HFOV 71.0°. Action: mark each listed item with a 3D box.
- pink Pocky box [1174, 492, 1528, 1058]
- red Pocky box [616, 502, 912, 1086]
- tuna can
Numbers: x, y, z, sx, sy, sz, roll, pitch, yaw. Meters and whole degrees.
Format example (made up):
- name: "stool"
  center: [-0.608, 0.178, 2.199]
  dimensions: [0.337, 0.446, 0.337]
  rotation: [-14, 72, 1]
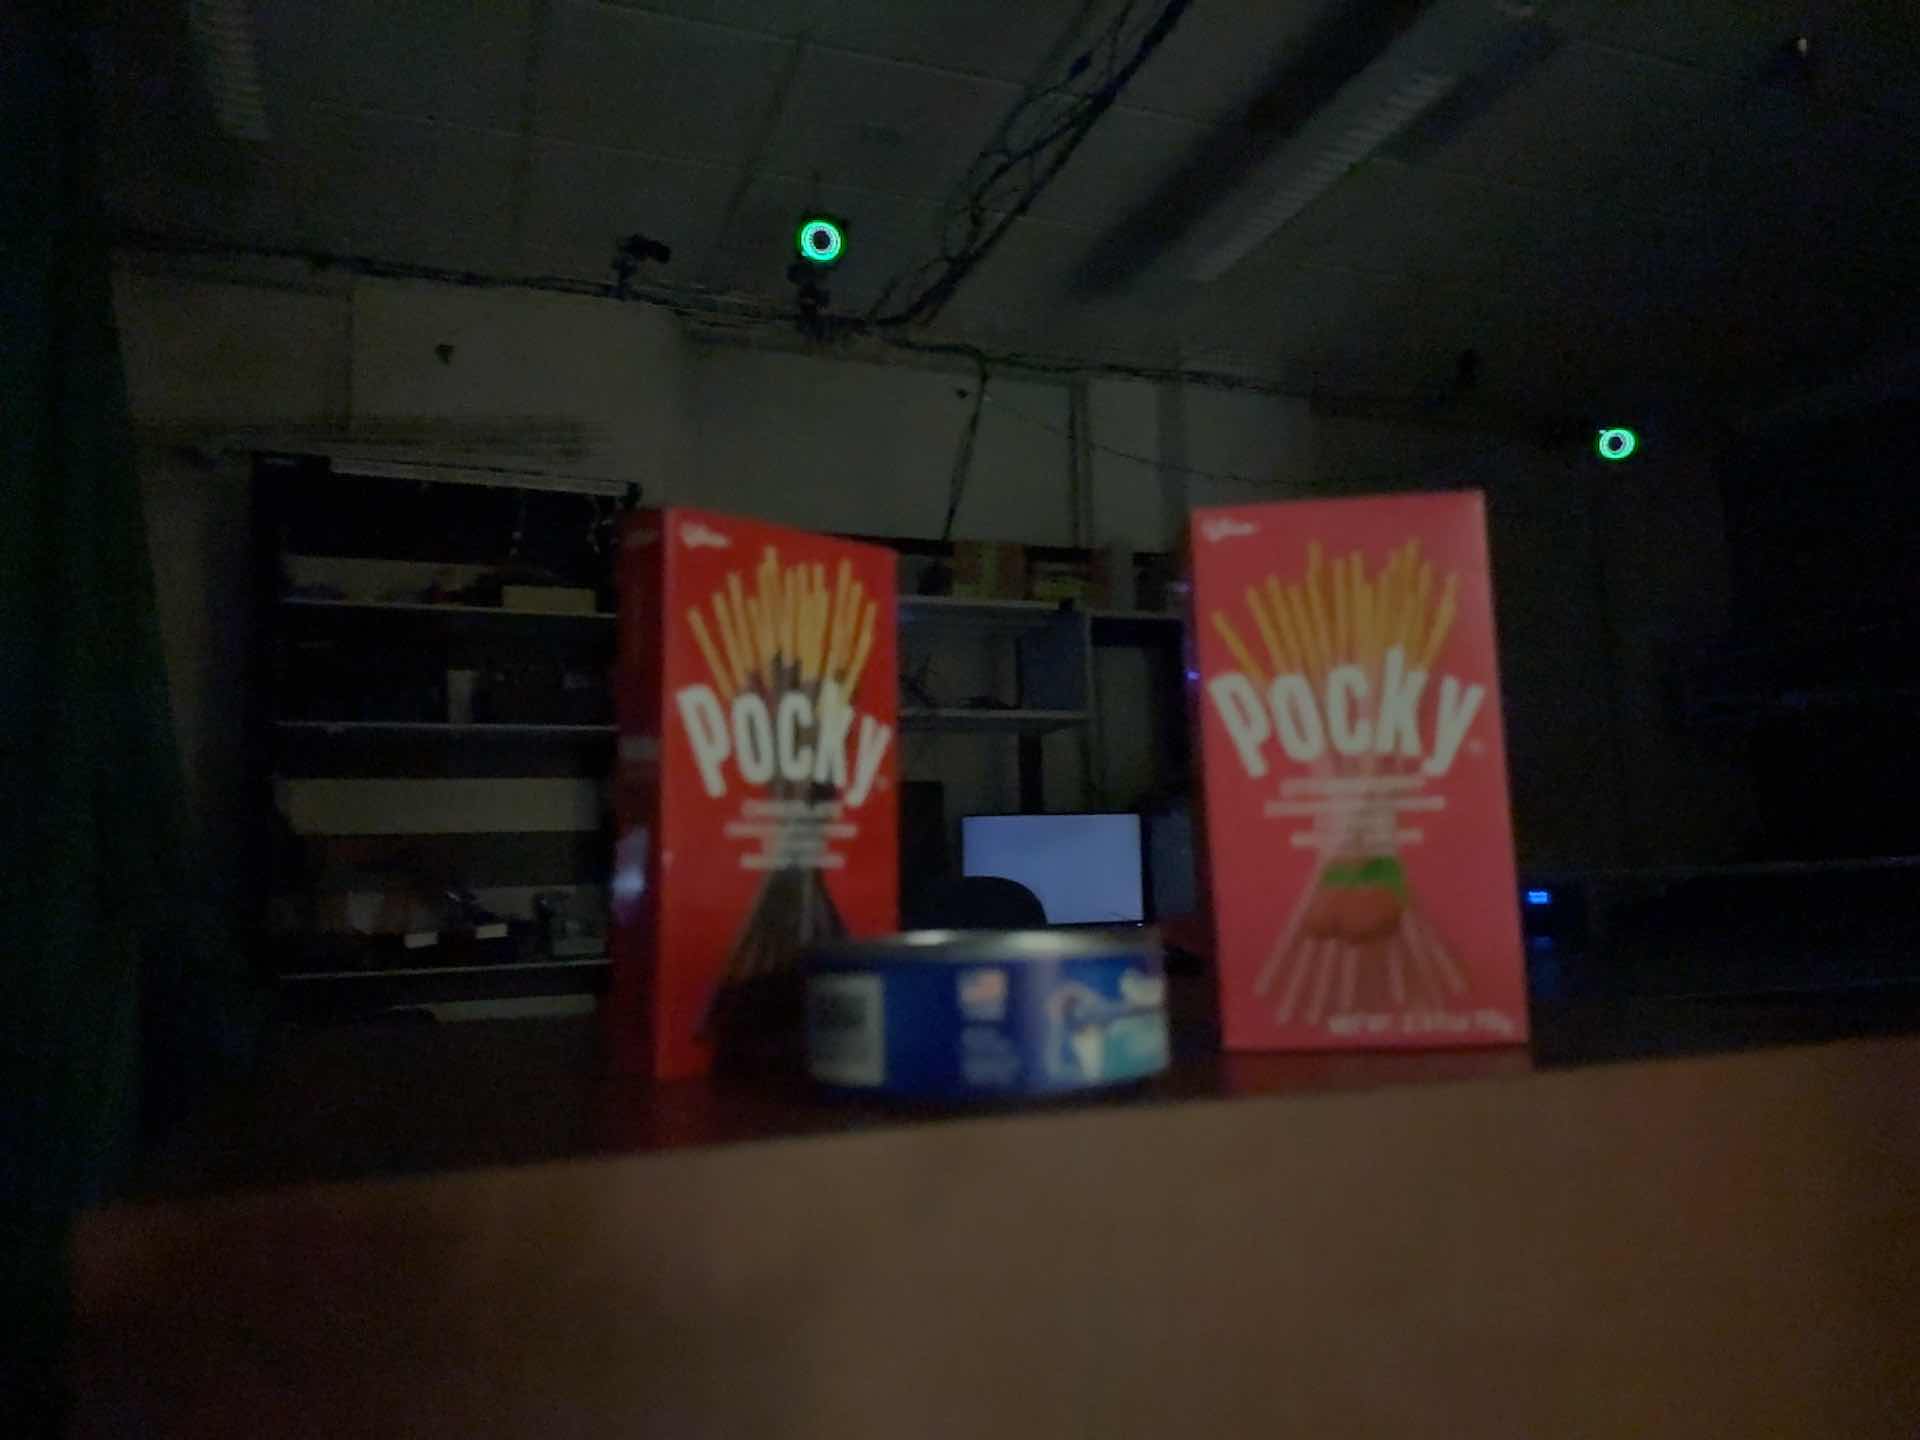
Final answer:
- name: "pink Pocky box"
  center: [0.109, 0.015, 0.382]
  dimensions: [0.084, 0.155, 0.029]
  rotation: [-3, -5, 2]
- name: "red Pocky box"
  center: [-0.054, 0.021, 0.381]
  dimensions: [0.083, 0.155, 0.028]
  rotation: [3, -7, -37]
- name: "tuna can"
  center: [0.011, 0.068, 0.312]
  dimensions: [0.083, 0.034, 0.083]
  rotation: [-2, -6, 0]
